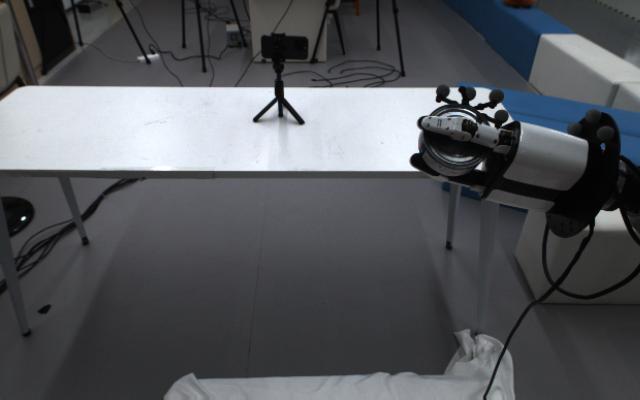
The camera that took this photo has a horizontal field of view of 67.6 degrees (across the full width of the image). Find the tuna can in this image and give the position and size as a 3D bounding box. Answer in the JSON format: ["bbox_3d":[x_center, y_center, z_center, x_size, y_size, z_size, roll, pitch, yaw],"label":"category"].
[{"bbox_3d":[0.169,-0.076,0.604,0.085,0.034,0.085,0,72,0],"label":"tuna can"}]
